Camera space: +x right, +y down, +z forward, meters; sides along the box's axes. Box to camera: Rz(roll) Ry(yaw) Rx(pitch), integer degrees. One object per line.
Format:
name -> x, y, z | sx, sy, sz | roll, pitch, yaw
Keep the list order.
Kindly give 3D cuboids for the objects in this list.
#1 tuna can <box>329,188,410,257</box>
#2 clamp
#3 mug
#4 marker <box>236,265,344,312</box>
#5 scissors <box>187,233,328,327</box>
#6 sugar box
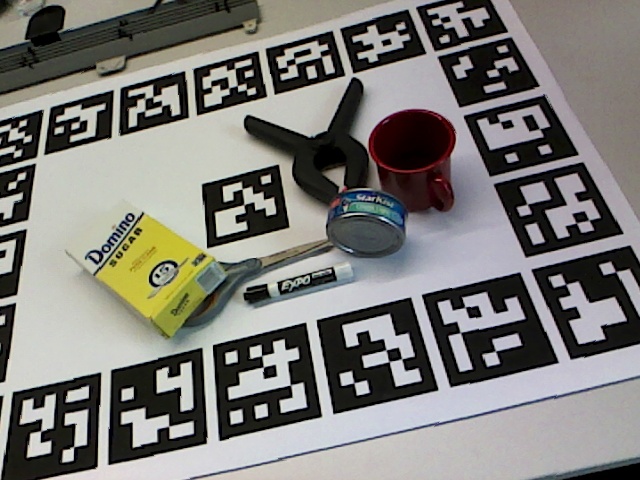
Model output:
tuna can -> 0.053, -0.017, 0.664 | 0.086, 0.085, 0.034 | 0, 57, 13
clamp -> 0.003, -0.107, 0.777 | 0.165, 0.036, 0.204 | -23, 56, -3
mug -> 0.101, -0.072, 0.695 | 0.093, 0.081, 0.118 | -37, 54, -12
marker -> -0.034, 0.054, 0.678 | 0.121, 0.019, 0.020 | -18, 56, 2
scissors -> -0.086, 0.031, 0.703 | 0.202, 0.016, 0.088 | -23, 52, -4
sugar box -> -0.196, 0.031, 0.709 | 0.177, 0.045, 0.093 | 32, 69, 35
